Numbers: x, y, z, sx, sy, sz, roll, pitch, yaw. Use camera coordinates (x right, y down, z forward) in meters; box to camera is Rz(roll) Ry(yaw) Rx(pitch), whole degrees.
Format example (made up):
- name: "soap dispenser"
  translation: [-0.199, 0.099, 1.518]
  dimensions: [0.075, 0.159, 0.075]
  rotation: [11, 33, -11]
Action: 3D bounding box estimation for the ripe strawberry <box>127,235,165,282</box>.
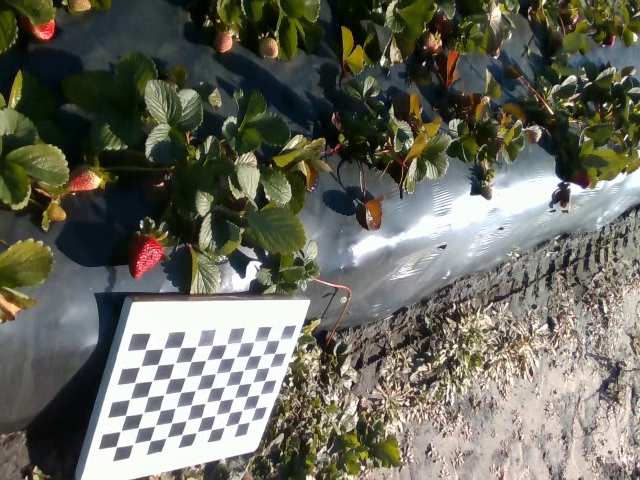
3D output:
- name: "ripe strawberry"
  translation: [-0.211, 0.021, 0.727]
  dimensions: [0.058, 0.062, 0.066]
  rotation: [-21, -46, 3]
